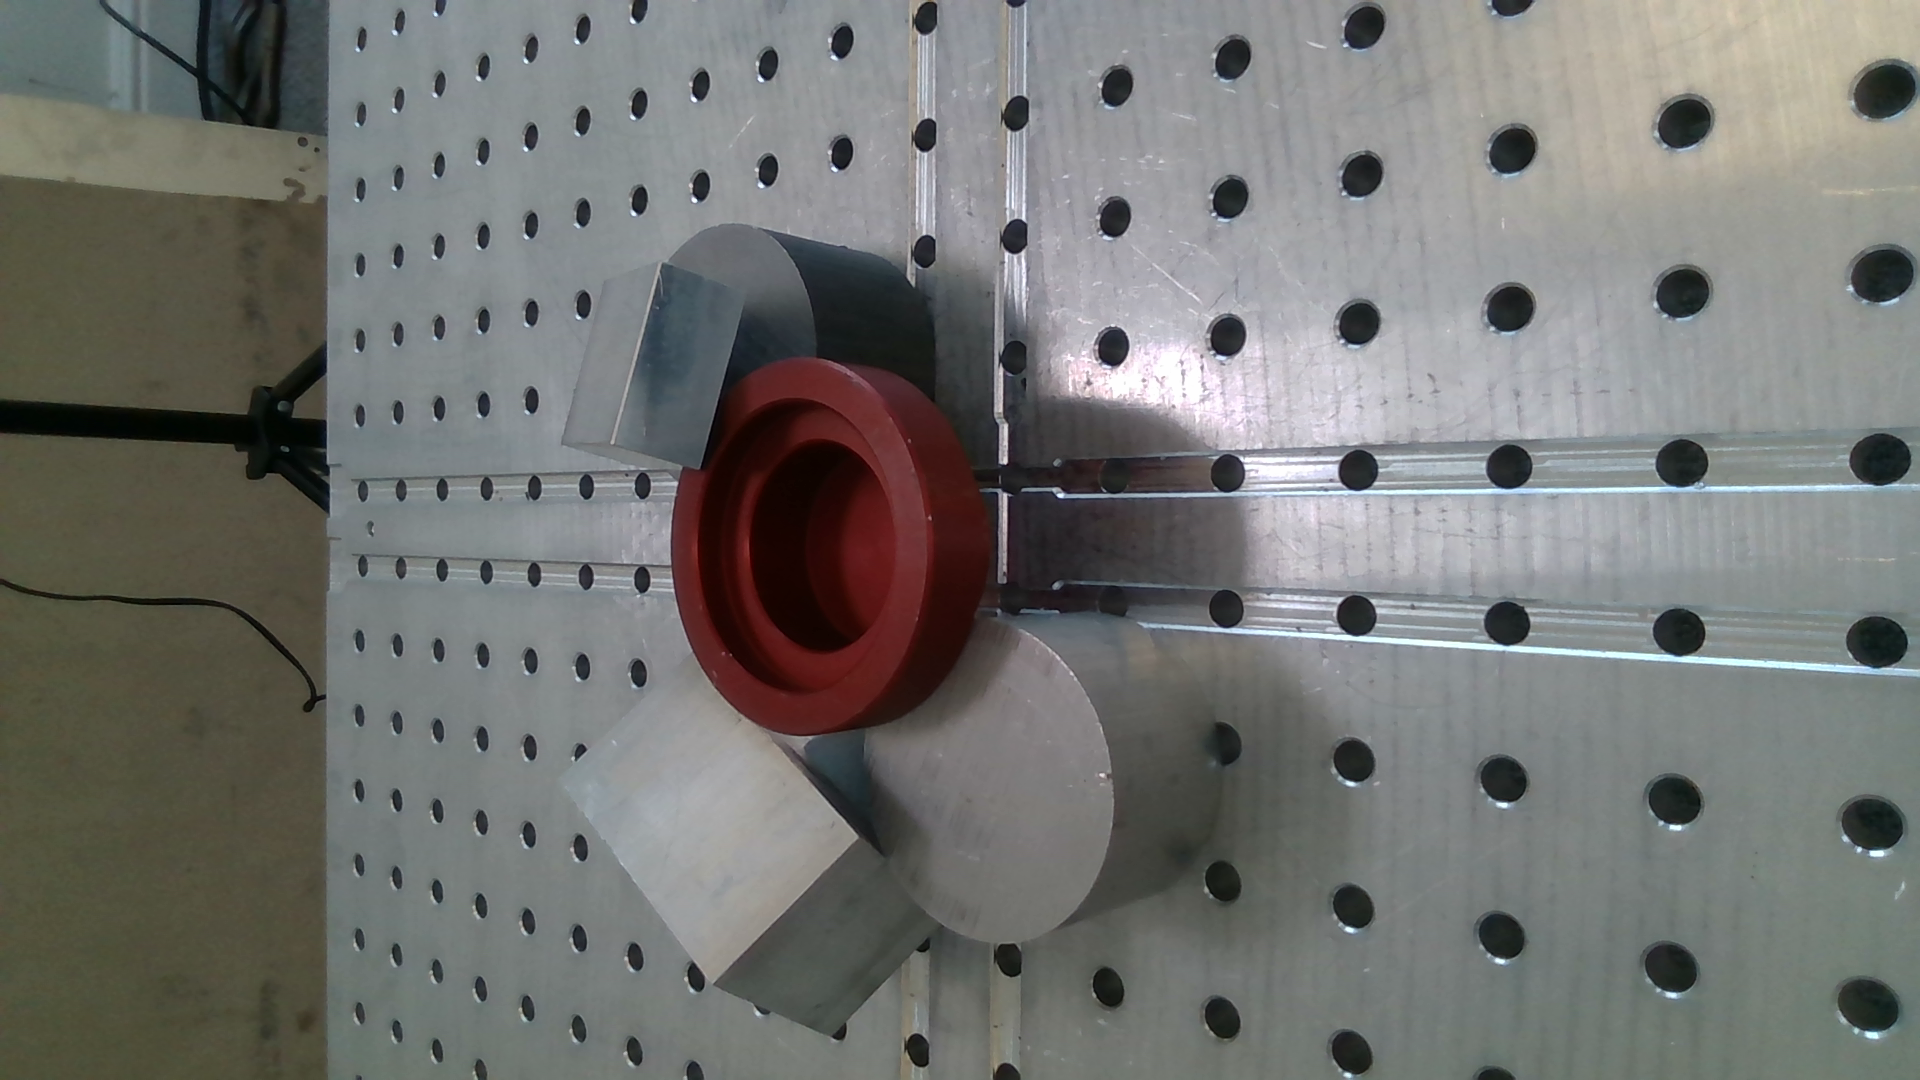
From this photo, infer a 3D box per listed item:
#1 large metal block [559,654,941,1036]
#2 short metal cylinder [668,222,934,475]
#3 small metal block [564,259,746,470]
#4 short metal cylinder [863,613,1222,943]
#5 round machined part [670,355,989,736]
[{"bbox_3d":[-0.056,0.088,0.398,0.050,0.080,0.080,-44,58,-7],"label":"large metal block"},{"bbox_3d":[-0.055,-0.053,0.423,0.080,0.050,0.080,0,91,40],"label":"short metal cylinder"},{"bbox_3d":[-0.087,-0.048,0.385,0.050,0.025,0.050,7,83,59],"label":"small metal block"},{"bbox_3d":[0.021,0.059,0.360,0.080,0.050,0.080,0,91,40],"label":"short metal cylinder"},{"bbox_3d":[-0.031,0.001,0.371,0.098,0.042,0.098,0,91,40],"label":"round machined part"}]
